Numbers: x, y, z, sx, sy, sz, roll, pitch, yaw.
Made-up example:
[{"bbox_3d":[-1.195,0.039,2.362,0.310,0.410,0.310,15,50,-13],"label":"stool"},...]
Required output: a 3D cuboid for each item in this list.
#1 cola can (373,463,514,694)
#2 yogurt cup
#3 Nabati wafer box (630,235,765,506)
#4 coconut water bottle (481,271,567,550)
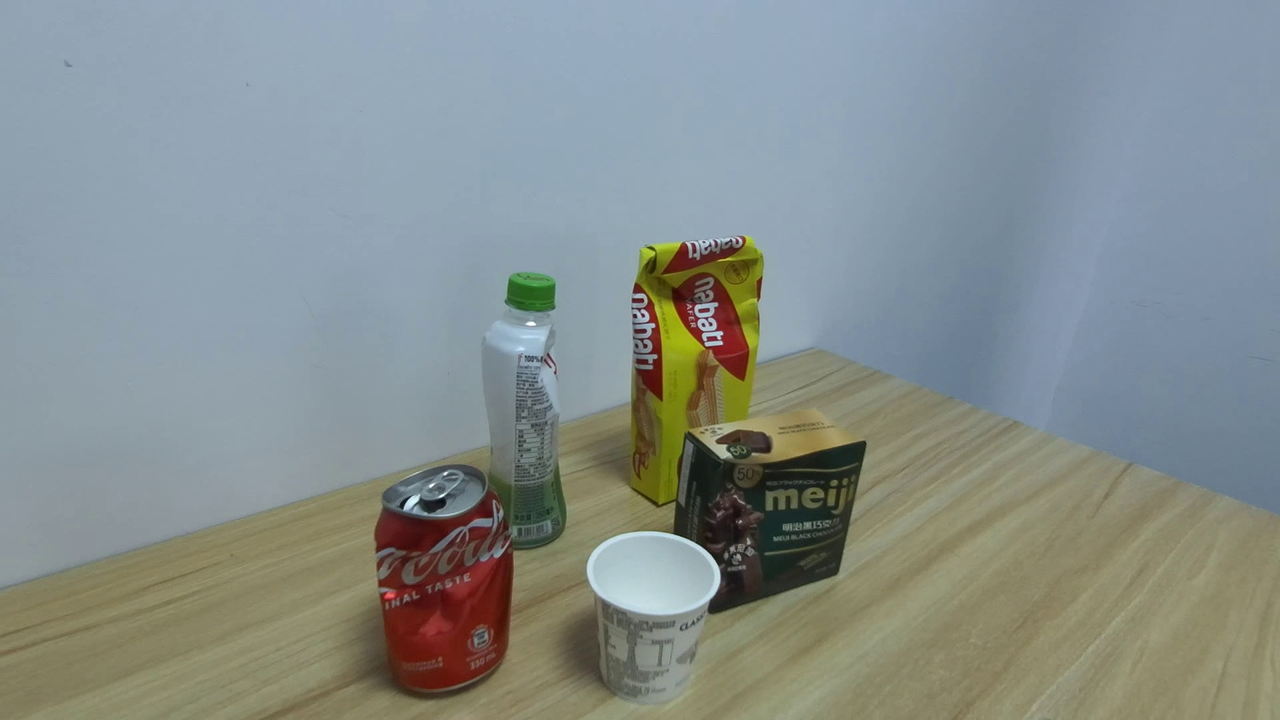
[{"bbox_3d":[-0.104,0.117,0.381,0.069,0.112,0.065,-5,21,-21],"label":"cola can"},{"bbox_3d":[0.006,0.143,0.389,0.072,0.068,0.072,3,21,-1],"label":"yogurt cup"},{"bbox_3d":[0.044,0.009,0.557,0.114,0.205,0.042,-13,25,-34],"label":"Nabati wafer box"},{"bbox_3d":[-0.079,0.034,0.490,0.069,0.187,0.069,4,18,-1],"label":"coconut water bottle"}]
